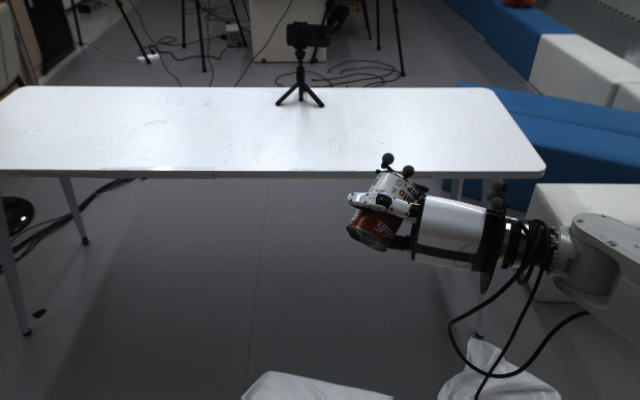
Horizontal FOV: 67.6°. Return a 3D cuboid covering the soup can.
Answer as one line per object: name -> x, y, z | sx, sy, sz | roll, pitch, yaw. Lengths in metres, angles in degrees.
soup can -> 0.093, 0.016, 0.709 | 0.067, 0.067, 0.101 | 23, 72, 28
